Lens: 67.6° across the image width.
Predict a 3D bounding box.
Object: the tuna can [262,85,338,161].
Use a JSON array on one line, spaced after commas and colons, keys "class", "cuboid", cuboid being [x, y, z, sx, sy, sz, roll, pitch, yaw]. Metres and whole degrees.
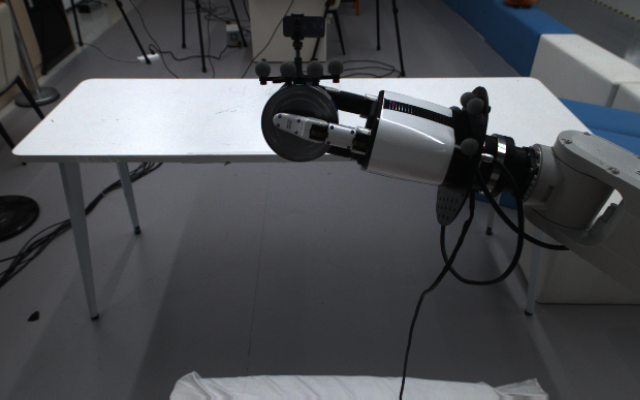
[{"class": "tuna can", "cuboid": [-0.018, -0.084, 0.543, 0.085, 0.085, 0.034, 4, 18, 3]}]
